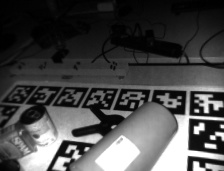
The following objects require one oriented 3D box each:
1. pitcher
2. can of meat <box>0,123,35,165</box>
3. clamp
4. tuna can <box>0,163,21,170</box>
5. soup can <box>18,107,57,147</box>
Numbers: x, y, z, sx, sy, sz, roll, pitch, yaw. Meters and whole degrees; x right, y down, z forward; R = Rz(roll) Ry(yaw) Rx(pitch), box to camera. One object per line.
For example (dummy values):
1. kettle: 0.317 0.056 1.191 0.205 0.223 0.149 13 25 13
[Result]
1. pitcher: 0.026 0.142 0.488 0.186 0.134 0.244 -5 27 48
2. can of meat: -0.274 0.163 0.582 0.084 0.103 0.057 -26 41 -7
3. clamp: -0.039 0.114 0.639 0.164 0.037 0.122 5 39 17
4. tuna can: -0.268 0.244 0.542 0.085 0.034 0.085 -9 41 8
5. soup can: -0.211 0.121 0.619 0.067 0.103 0.067 -11 41 10
